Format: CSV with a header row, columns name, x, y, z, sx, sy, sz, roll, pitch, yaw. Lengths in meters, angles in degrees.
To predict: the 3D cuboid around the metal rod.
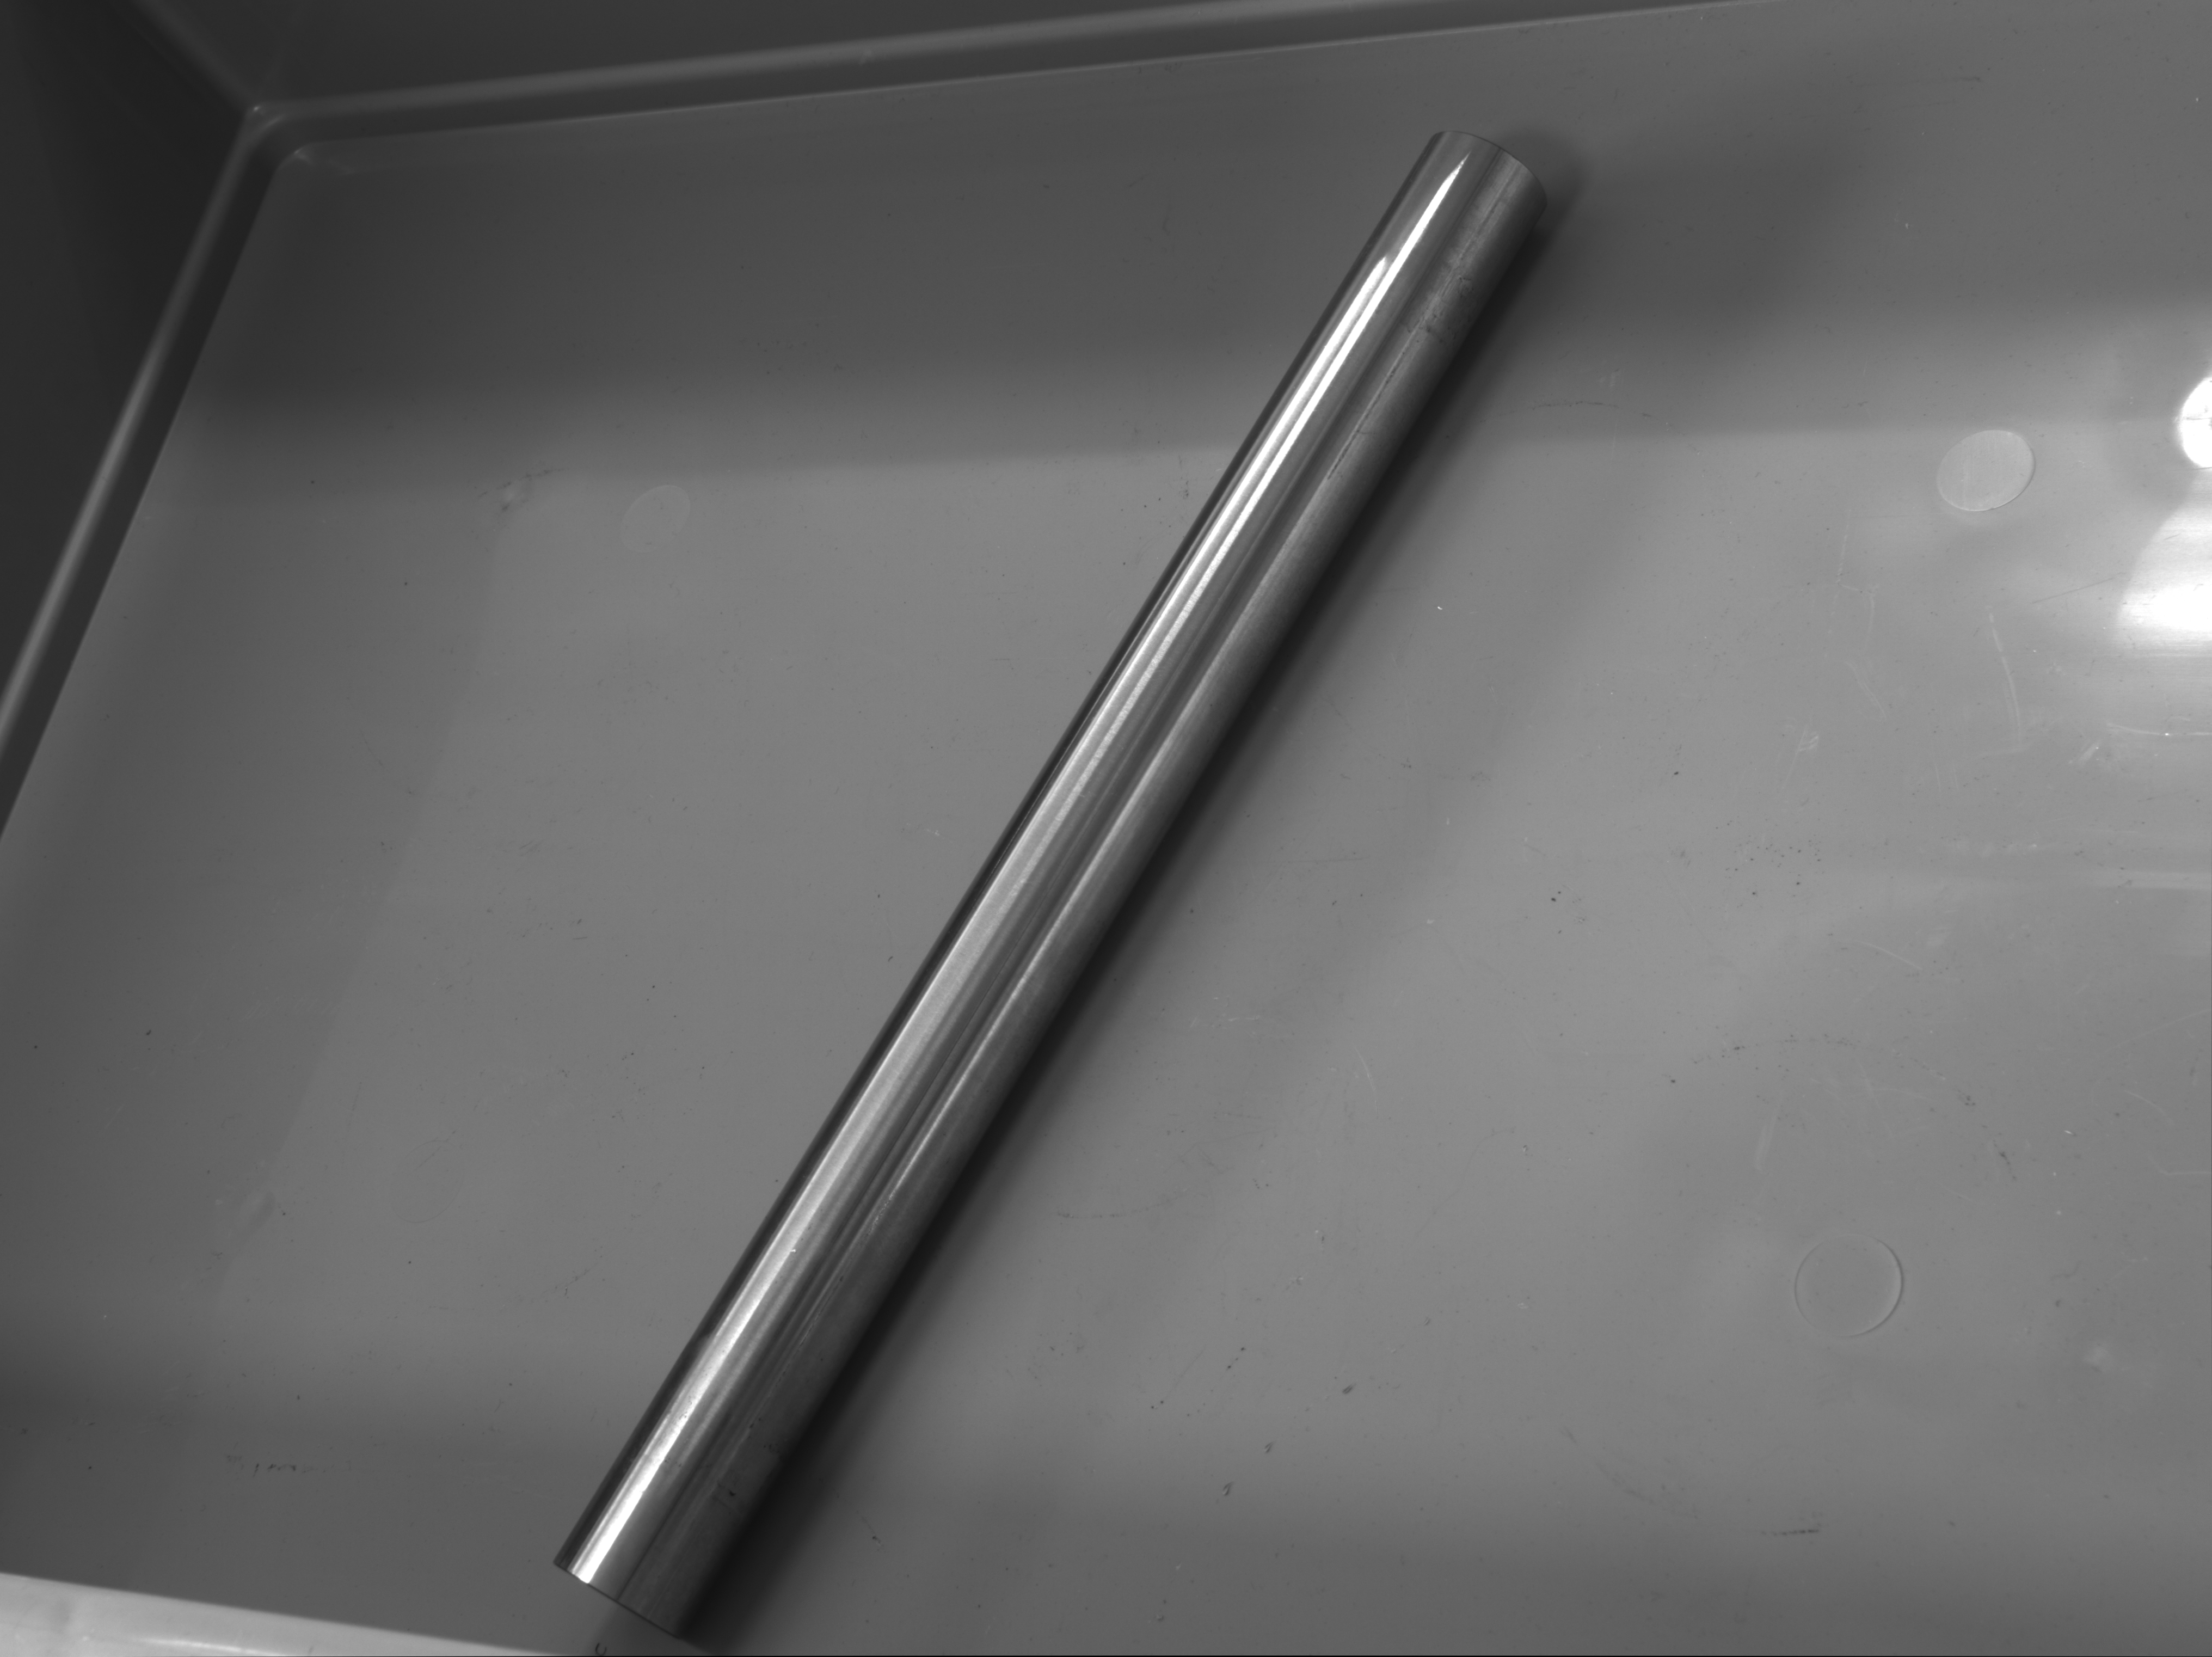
name,x,y,z,sx,sy,sz,roll,pitch,yaw
metal rod,-0.006,0.003,0.644,0.025,0.025,0.300,21,73,36
